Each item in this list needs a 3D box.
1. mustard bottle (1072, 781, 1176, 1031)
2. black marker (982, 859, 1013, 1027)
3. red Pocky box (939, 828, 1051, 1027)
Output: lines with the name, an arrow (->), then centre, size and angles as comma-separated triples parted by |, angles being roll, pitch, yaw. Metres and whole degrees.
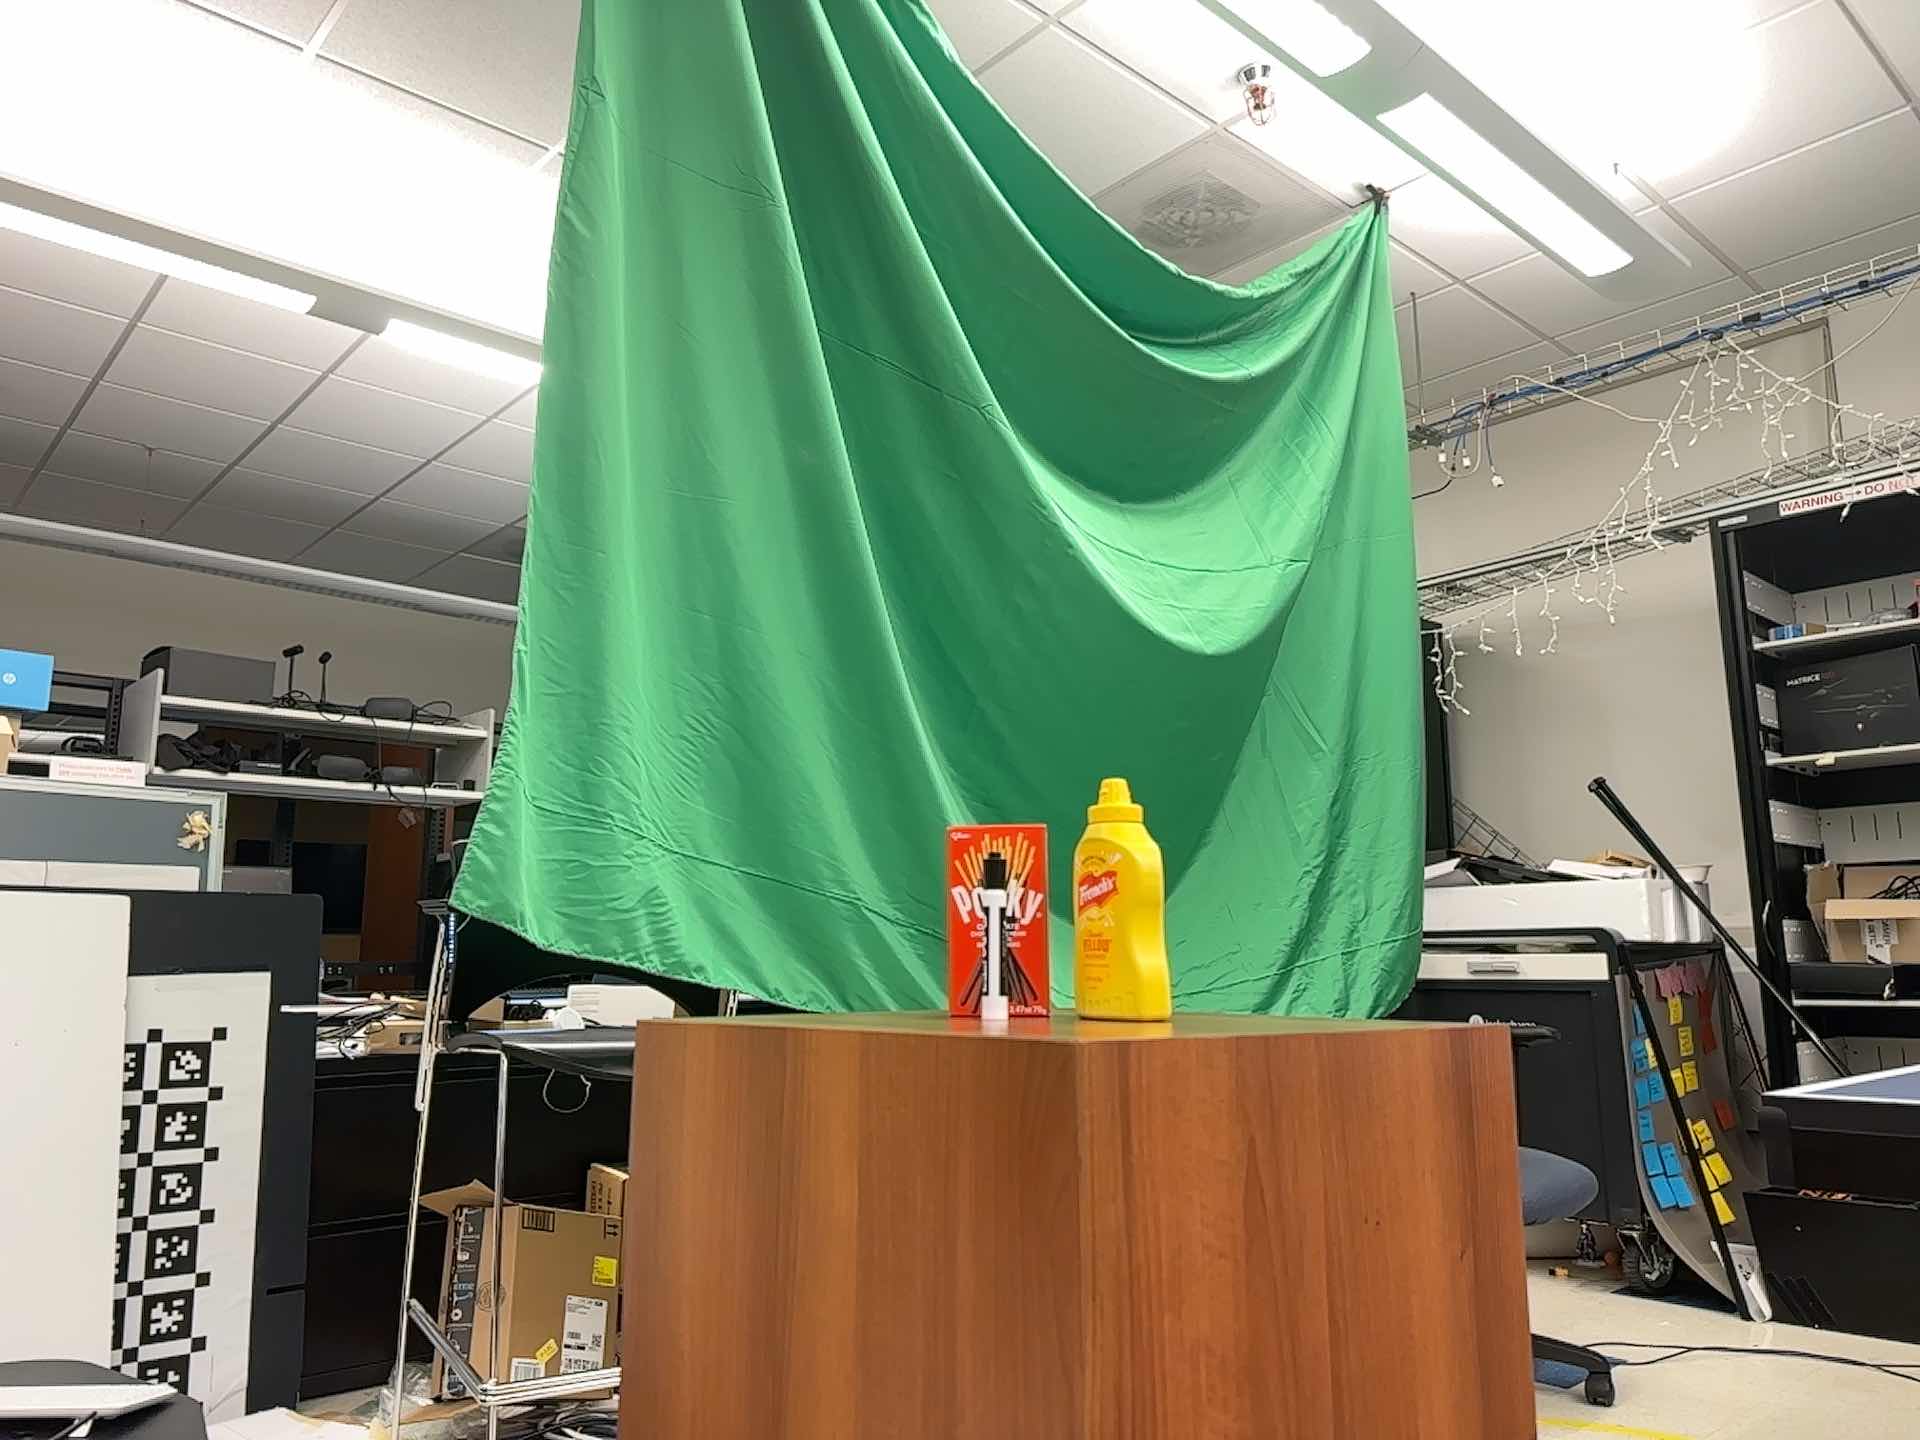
mustard bottle -> 0.119, 0.137, 1.011 | 0.054, 0.184, 0.092 | 1, -9, -22
black marker -> 0.028, 0.163, 0.991 | 0.020, 0.121, 0.020 | 2, -10, 0
red Pocky box -> 0.027, 0.164, 1.070 | 0.083, 0.155, 0.028 | -4, -8, 12
